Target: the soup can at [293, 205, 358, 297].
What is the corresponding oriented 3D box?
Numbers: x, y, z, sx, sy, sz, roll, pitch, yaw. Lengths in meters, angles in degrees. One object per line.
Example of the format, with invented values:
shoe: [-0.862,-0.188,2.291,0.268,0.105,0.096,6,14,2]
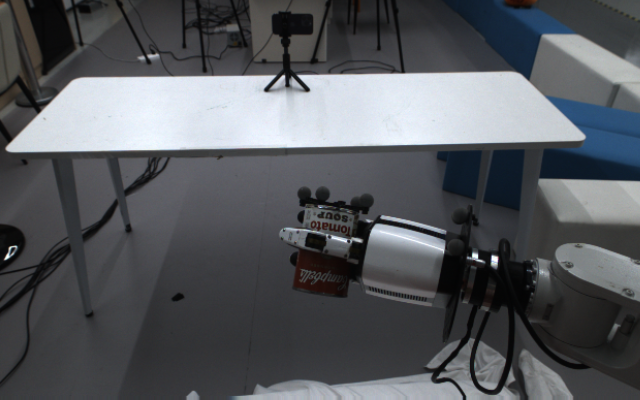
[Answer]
soup can: [0.009,0.061,0.581,0.067,0.101,0.067,9,-6,1]
